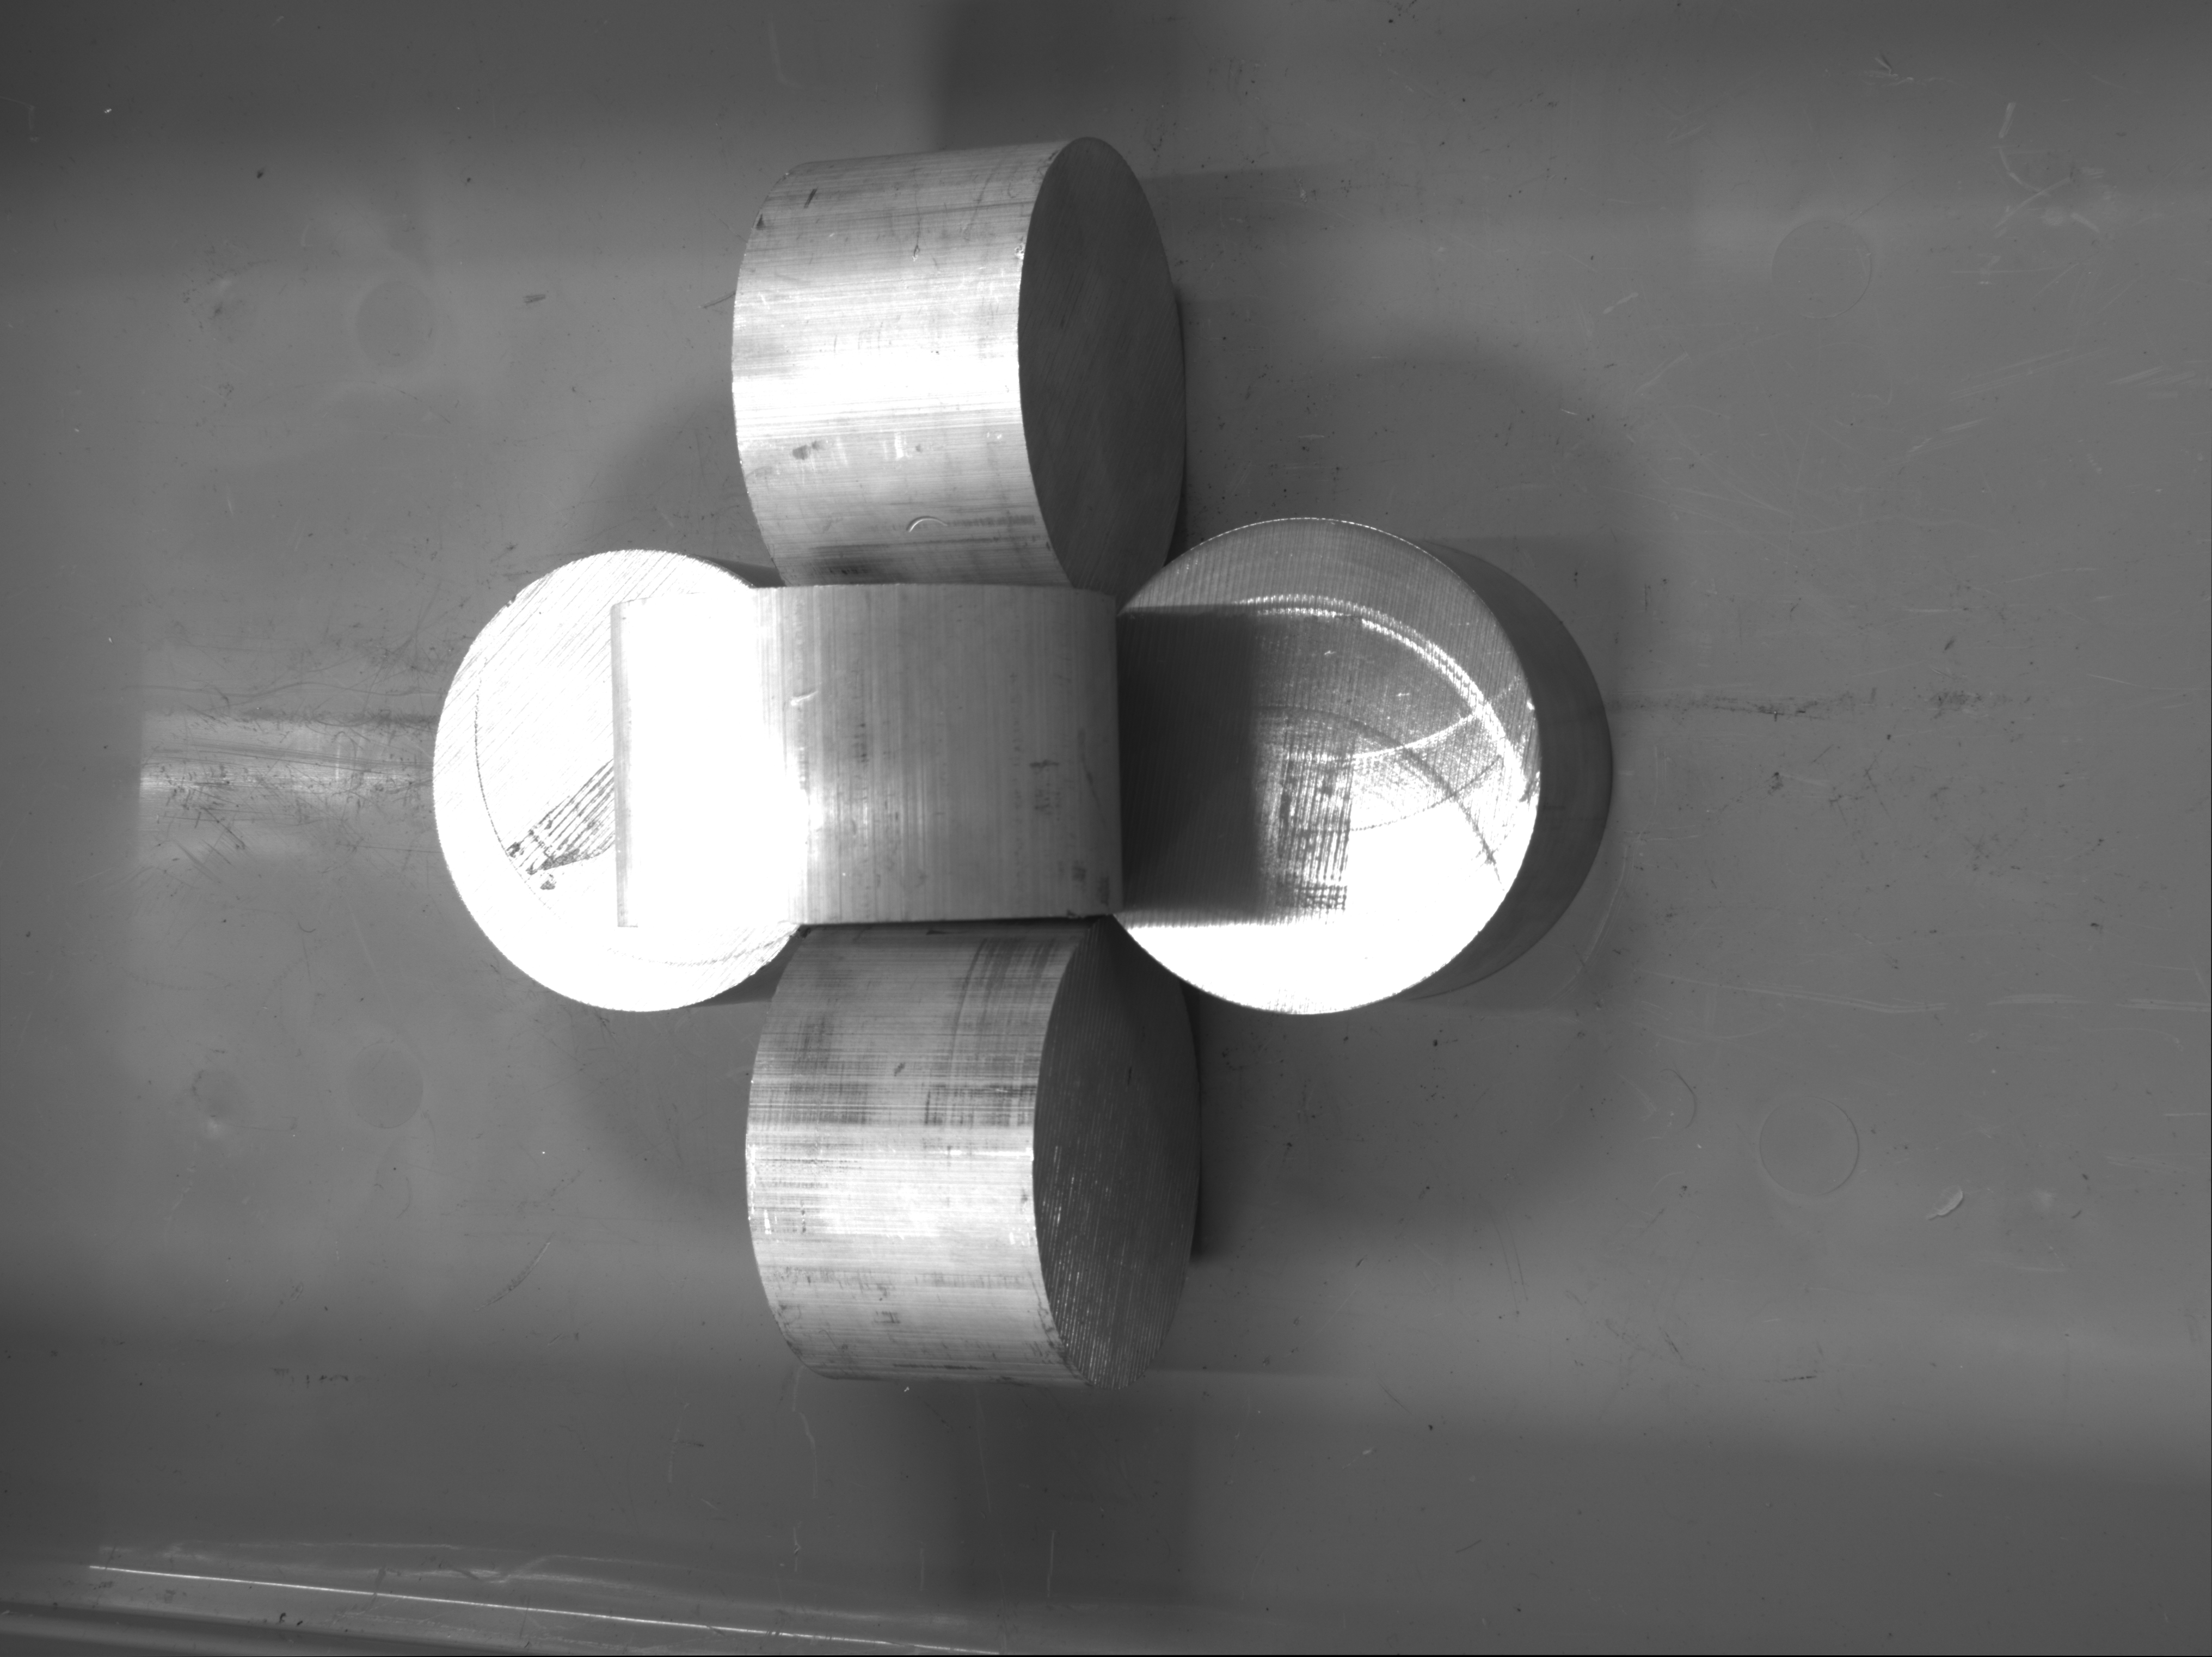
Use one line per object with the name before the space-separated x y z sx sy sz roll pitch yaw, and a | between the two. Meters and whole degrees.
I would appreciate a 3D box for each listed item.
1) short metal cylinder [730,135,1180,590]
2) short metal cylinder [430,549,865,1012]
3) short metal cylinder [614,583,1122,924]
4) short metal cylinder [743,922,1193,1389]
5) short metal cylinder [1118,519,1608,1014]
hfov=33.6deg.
short metal cylinder | -0.024 -0.075 0.624 0.050 0.080 0.080 -2 89 20
short metal cylinder | -0.073 -0.008 0.658 0.080 0.050 0.080 0 90 20
short metal cylinder | -0.038 -0.011 0.582 0.080 0.080 0.050 -1 89 20
short metal cylinder | -0.022 0.054 0.623 0.050 0.080 0.080 -2 89 20
short metal cylinder | 0.040 -0.010 0.617 0.080 0.050 0.080 0 90 20
